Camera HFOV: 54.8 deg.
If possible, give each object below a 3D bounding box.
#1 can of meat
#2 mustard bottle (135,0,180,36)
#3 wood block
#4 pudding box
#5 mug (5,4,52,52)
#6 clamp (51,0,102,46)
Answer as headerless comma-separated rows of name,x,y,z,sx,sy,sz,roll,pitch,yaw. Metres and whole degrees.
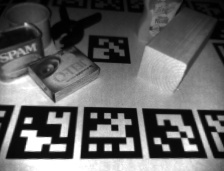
can of meat,-0.191,-0.071,0.426,0.102,0.084,0.057,-24,60,-24
mustard bottle,0.116,-0.209,0.514,0.096,0.192,0.058,-3,53,-8
wood block,0.155,-0.093,0.499,0.089,0.091,0.207,31,52,19
pudding box,-0.095,-0.034,0.446,0.115,0.039,0.089,-33,63,-30
mug,-0.185,-0.137,0.515,0.093,0.082,0.117,20,54,8
clamp,-0.104,-0.163,0.553,0.121,0.036,0.165,18,54,4
